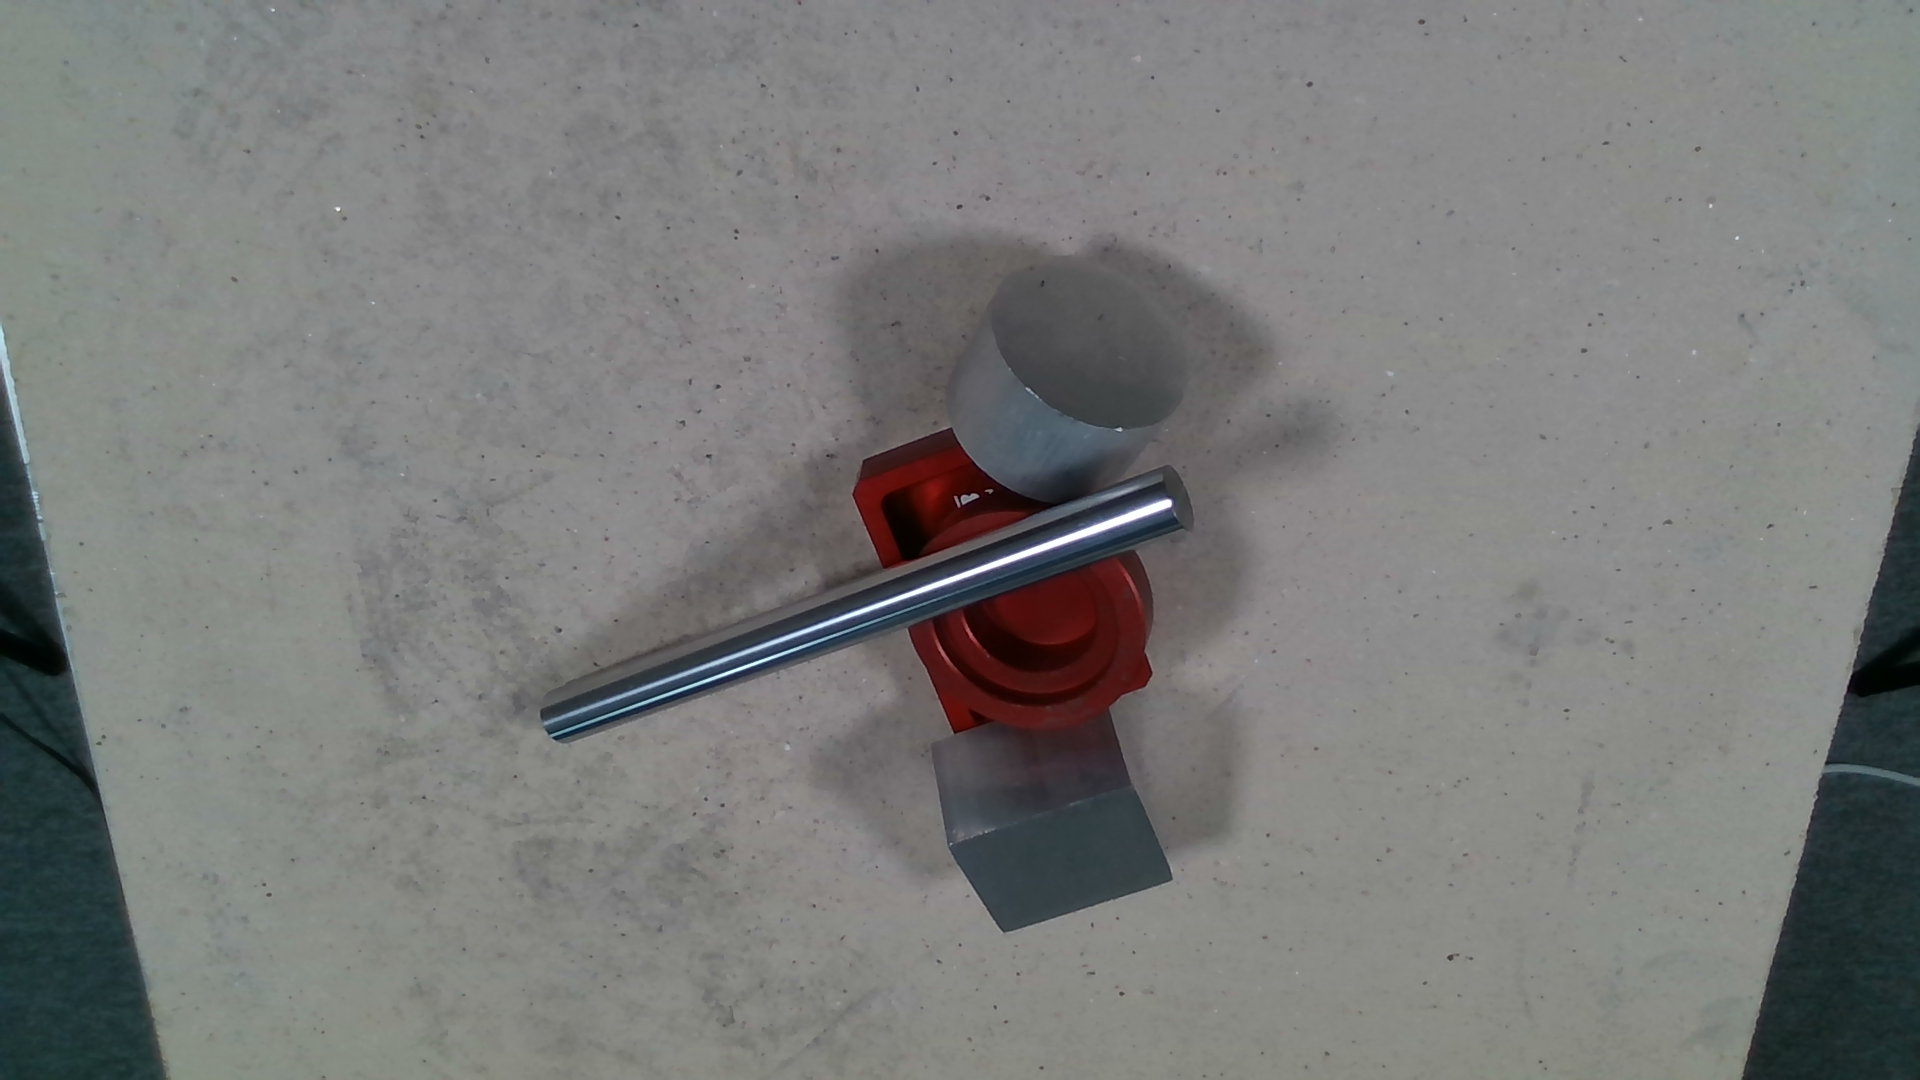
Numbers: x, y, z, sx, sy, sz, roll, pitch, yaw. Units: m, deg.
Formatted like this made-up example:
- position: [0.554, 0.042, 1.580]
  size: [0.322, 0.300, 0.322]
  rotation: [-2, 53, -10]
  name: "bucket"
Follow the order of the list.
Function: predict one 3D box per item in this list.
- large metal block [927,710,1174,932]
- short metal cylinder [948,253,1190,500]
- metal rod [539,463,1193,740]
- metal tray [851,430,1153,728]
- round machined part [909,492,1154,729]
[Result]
- position: [0.040, 0.118, 0.597]
  size: [0.080, 0.050, 0.080]
  rotation: [-19, 135, 7]
  name: "large metal block"
- position: [0.040, -0.062, 0.526]
  size: [0.080, 0.080, 0.050]
  rotation: [23, 144, -8]
  name: "short metal cylinder"
- position: [-0.051, 0.031, 0.550]
  size: [0.300, 0.025, 0.025]
  rotation: [-20, 110, 25]
  name: "metal rod"
- position: [0.019, 0.014, 0.587]
  size: [0.090, 0.030, 0.130]
  rotation: [-20, 109, 7]
  name: "metal tray"
- position: [0.030, 0.024, 0.559]
  size: [0.098, 0.042, 0.098]
  rotation: [6, 116, 14]
  name: "round machined part"
